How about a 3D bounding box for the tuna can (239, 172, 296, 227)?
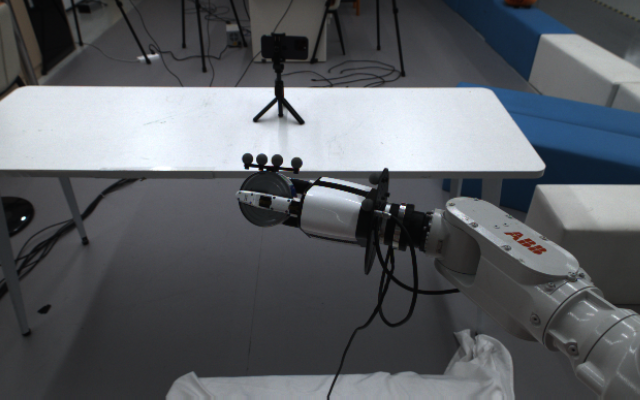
[{"bbox_3d":[-0.079,-0.002,0.743,0.085,0.085,0.034,11,3,13],"label":"tuna can"}]
